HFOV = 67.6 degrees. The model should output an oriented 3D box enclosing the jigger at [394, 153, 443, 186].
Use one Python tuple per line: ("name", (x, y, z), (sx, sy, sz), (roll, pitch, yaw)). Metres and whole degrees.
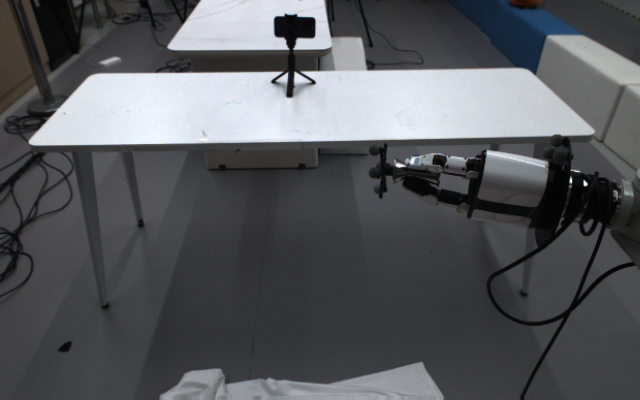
("jigger", (0.154, -0.047, 0.735), (0.071, 0.043, 0.043), (3, 34, 16))
